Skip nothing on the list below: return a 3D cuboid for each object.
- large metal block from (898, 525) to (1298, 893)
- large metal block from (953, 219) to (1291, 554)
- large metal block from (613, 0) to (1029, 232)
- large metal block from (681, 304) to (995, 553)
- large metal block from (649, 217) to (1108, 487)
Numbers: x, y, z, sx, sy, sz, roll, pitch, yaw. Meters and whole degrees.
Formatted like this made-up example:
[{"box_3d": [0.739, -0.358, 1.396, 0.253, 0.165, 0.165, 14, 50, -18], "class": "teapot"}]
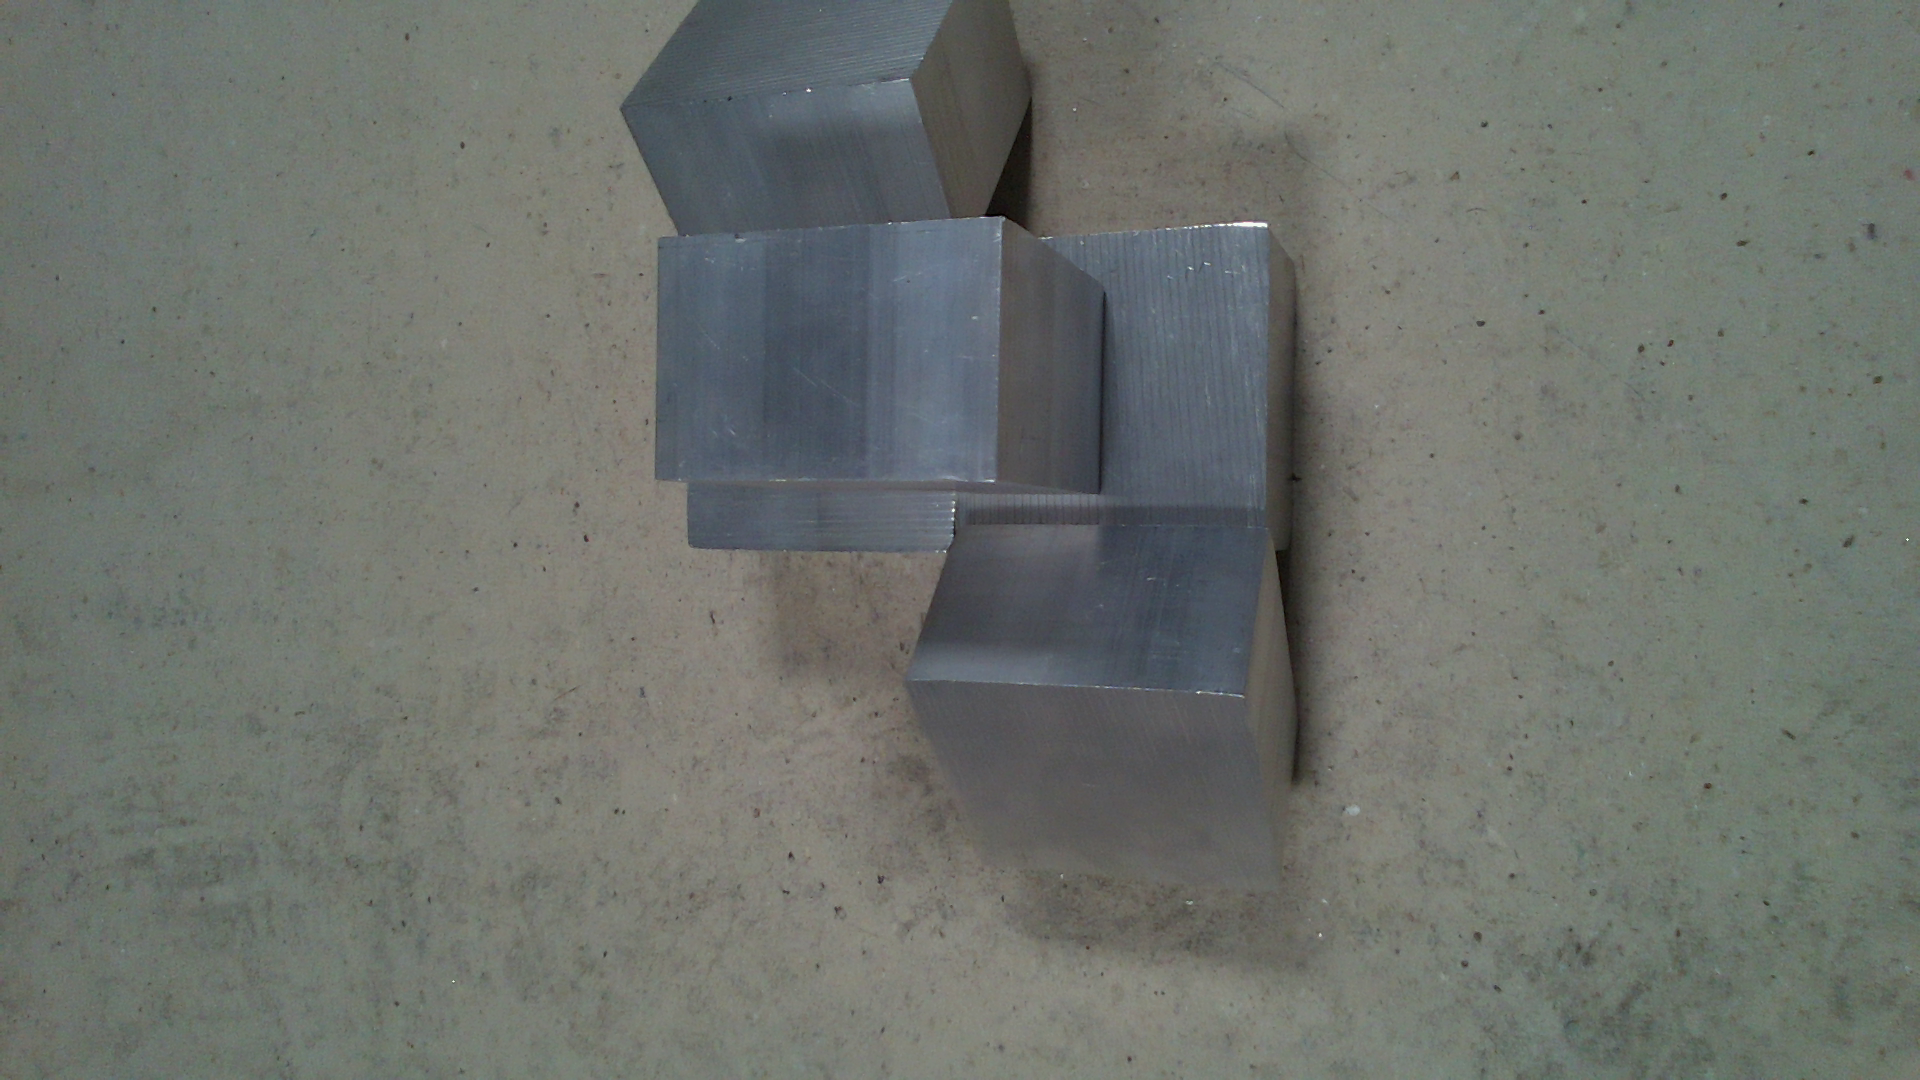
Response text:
[{"box_3d": [0.039, 0.042, 0.346, 0.080, 0.080, 0.050, 0, 46, 20], "class": "large metal block"}, {"box_3d": [0.045, -0.037, 0.365, 0.080, 0.050, 0.080, 1, 90, 20], "class": "large metal block"}, {"box_3d": [-0.033, -0.119, 0.372, 0.080, 0.050, 0.080, 0, 46, 21], "class": "large metal block"}, {"box_3d": [-0.031, -0.037, 0.392, 0.080, 0.050, 0.080, 1, 90, 20], "class": "large metal block"}, {"box_3d": [-0.015, -0.039, 0.319, 0.080, 0.080, 0.050, 1, 91, 20], "class": "large metal block"}]
